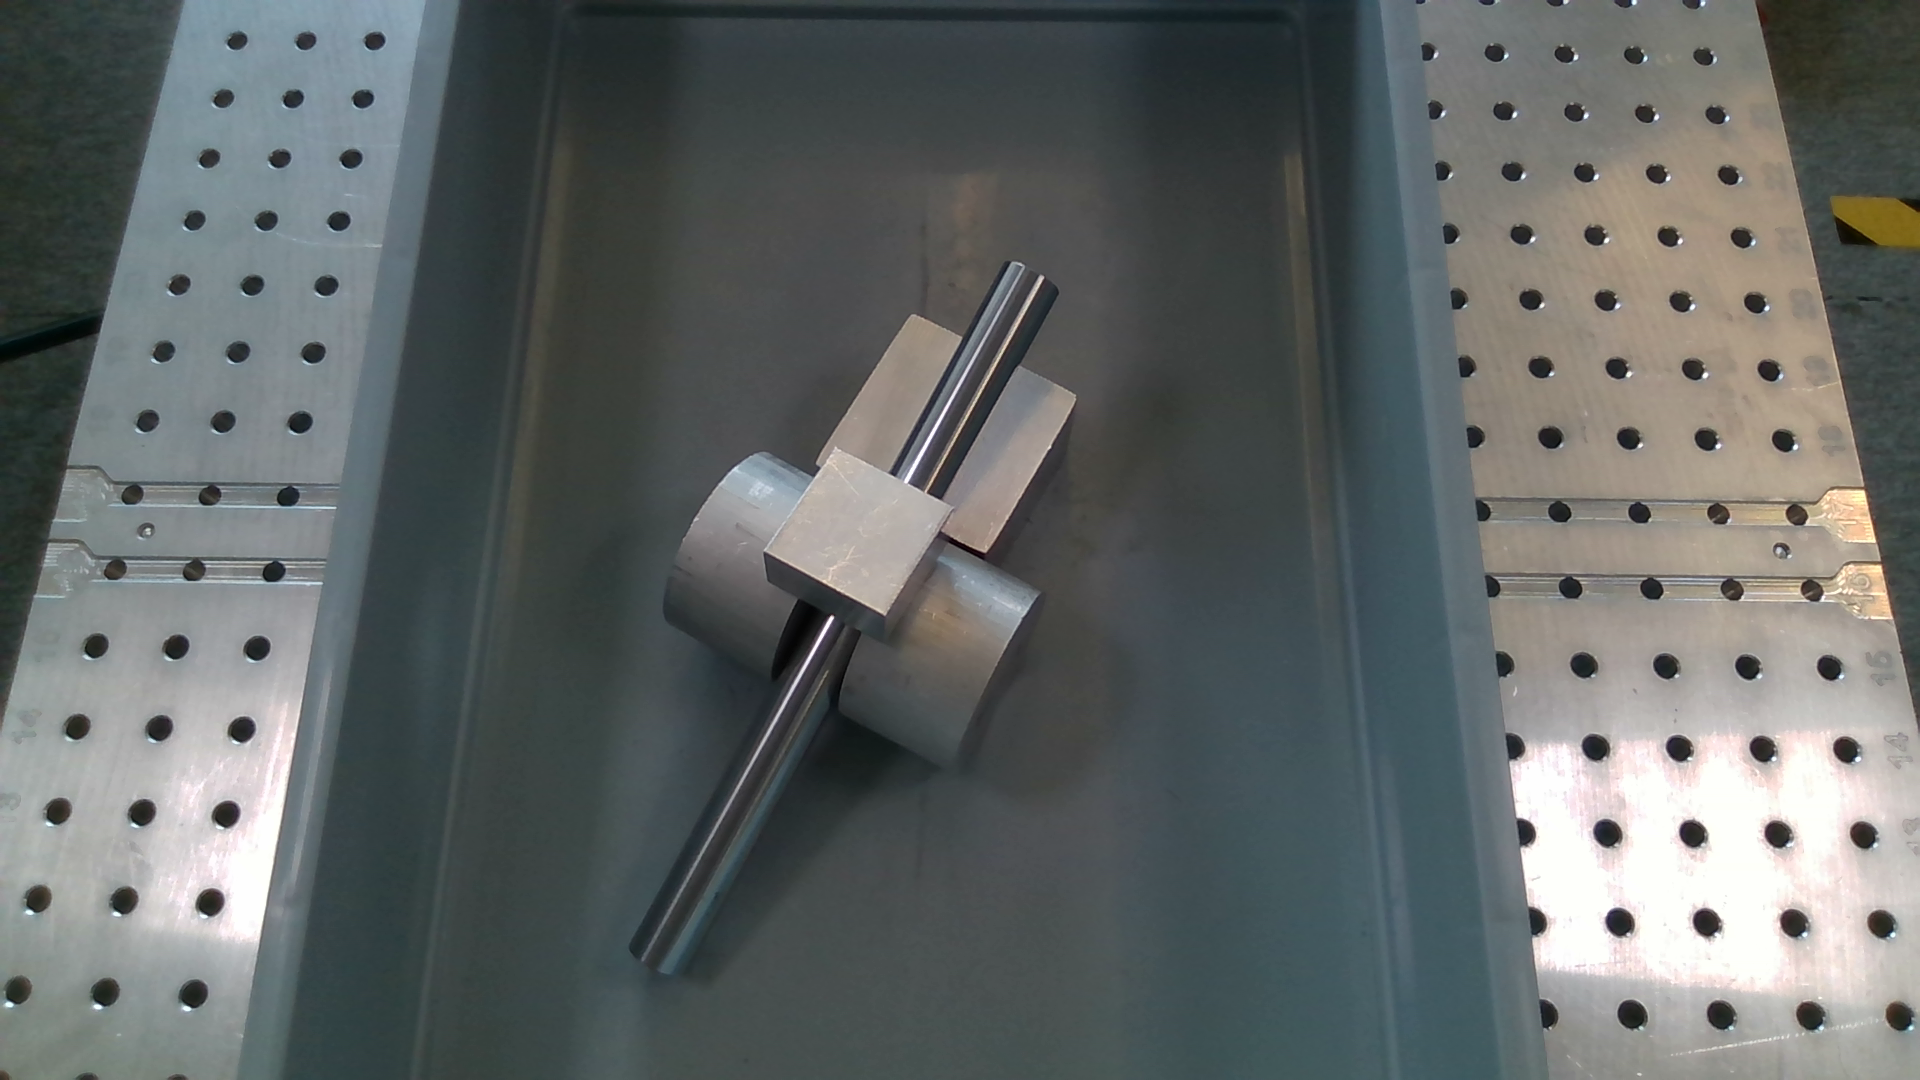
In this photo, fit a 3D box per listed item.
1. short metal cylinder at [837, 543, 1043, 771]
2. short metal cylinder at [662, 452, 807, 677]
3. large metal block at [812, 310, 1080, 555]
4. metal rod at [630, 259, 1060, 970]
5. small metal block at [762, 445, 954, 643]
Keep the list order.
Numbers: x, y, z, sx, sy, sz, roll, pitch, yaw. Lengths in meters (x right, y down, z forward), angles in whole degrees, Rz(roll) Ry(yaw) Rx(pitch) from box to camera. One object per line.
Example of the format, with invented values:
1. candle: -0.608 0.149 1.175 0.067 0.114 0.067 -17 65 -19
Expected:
1. short metal cylinder: -0.007 0.044 0.543 0.050 0.080 0.080 26 72 9
2. short metal cylinder: -0.075 0.011 0.554 0.050 0.080 0.080 28 73 10
3. large metal block: -0.005 -0.037 0.585 0.080 0.050 0.080 28 73 9
4. metal rod: -0.044 0.028 0.535 0.025 0.025 0.300 29 88 10
5. small metal block: -0.037 0.001 0.503 0.050 0.025 0.050 27 64 10
